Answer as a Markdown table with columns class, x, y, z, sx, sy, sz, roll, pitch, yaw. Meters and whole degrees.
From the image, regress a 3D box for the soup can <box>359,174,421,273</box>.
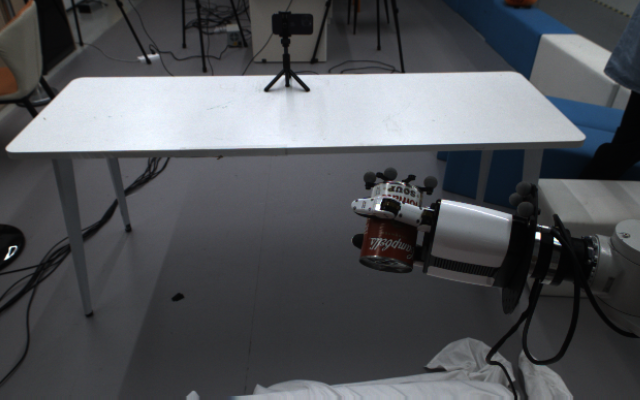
| class | x | y | z | sx | sy | sz | roll | pitch | yaw |
| --- | --- | --- | --- | --- | --- | --- | --- | --- | --- |
| soup can | 0.092 | 0.035 | 0.612 | 0.067 | 0.067 | 0.101 | 9 | 70 | 10 |
